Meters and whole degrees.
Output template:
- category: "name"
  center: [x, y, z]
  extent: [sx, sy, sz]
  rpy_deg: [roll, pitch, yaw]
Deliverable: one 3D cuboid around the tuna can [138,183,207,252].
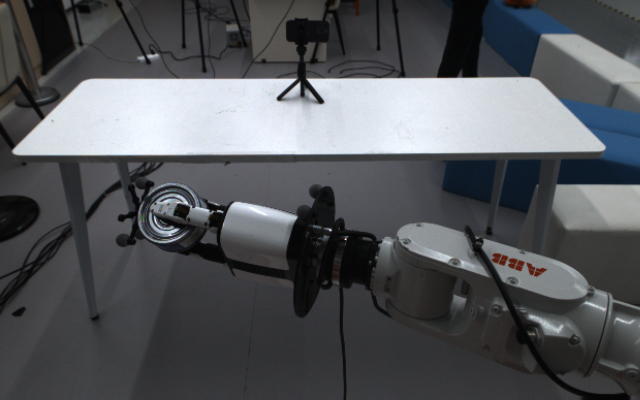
- category: "tuna can"
  center: [-0.187, 0.022, 0.622]
  extent: [0.085, 0.034, 0.085]
  rpy_deg: [-2, 70, 6]
